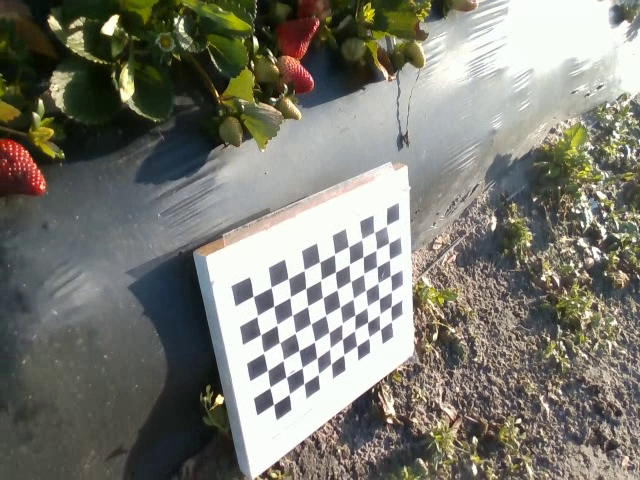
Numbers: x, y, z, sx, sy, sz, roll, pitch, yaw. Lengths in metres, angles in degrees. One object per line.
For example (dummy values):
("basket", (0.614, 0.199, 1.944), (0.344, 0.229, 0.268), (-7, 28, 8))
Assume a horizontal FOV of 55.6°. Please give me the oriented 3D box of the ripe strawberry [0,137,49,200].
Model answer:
("ripe strawberry", (-0.229, -0.049, 0.451), (0.051, 0.052, 0.041), (30, -20, 13))
